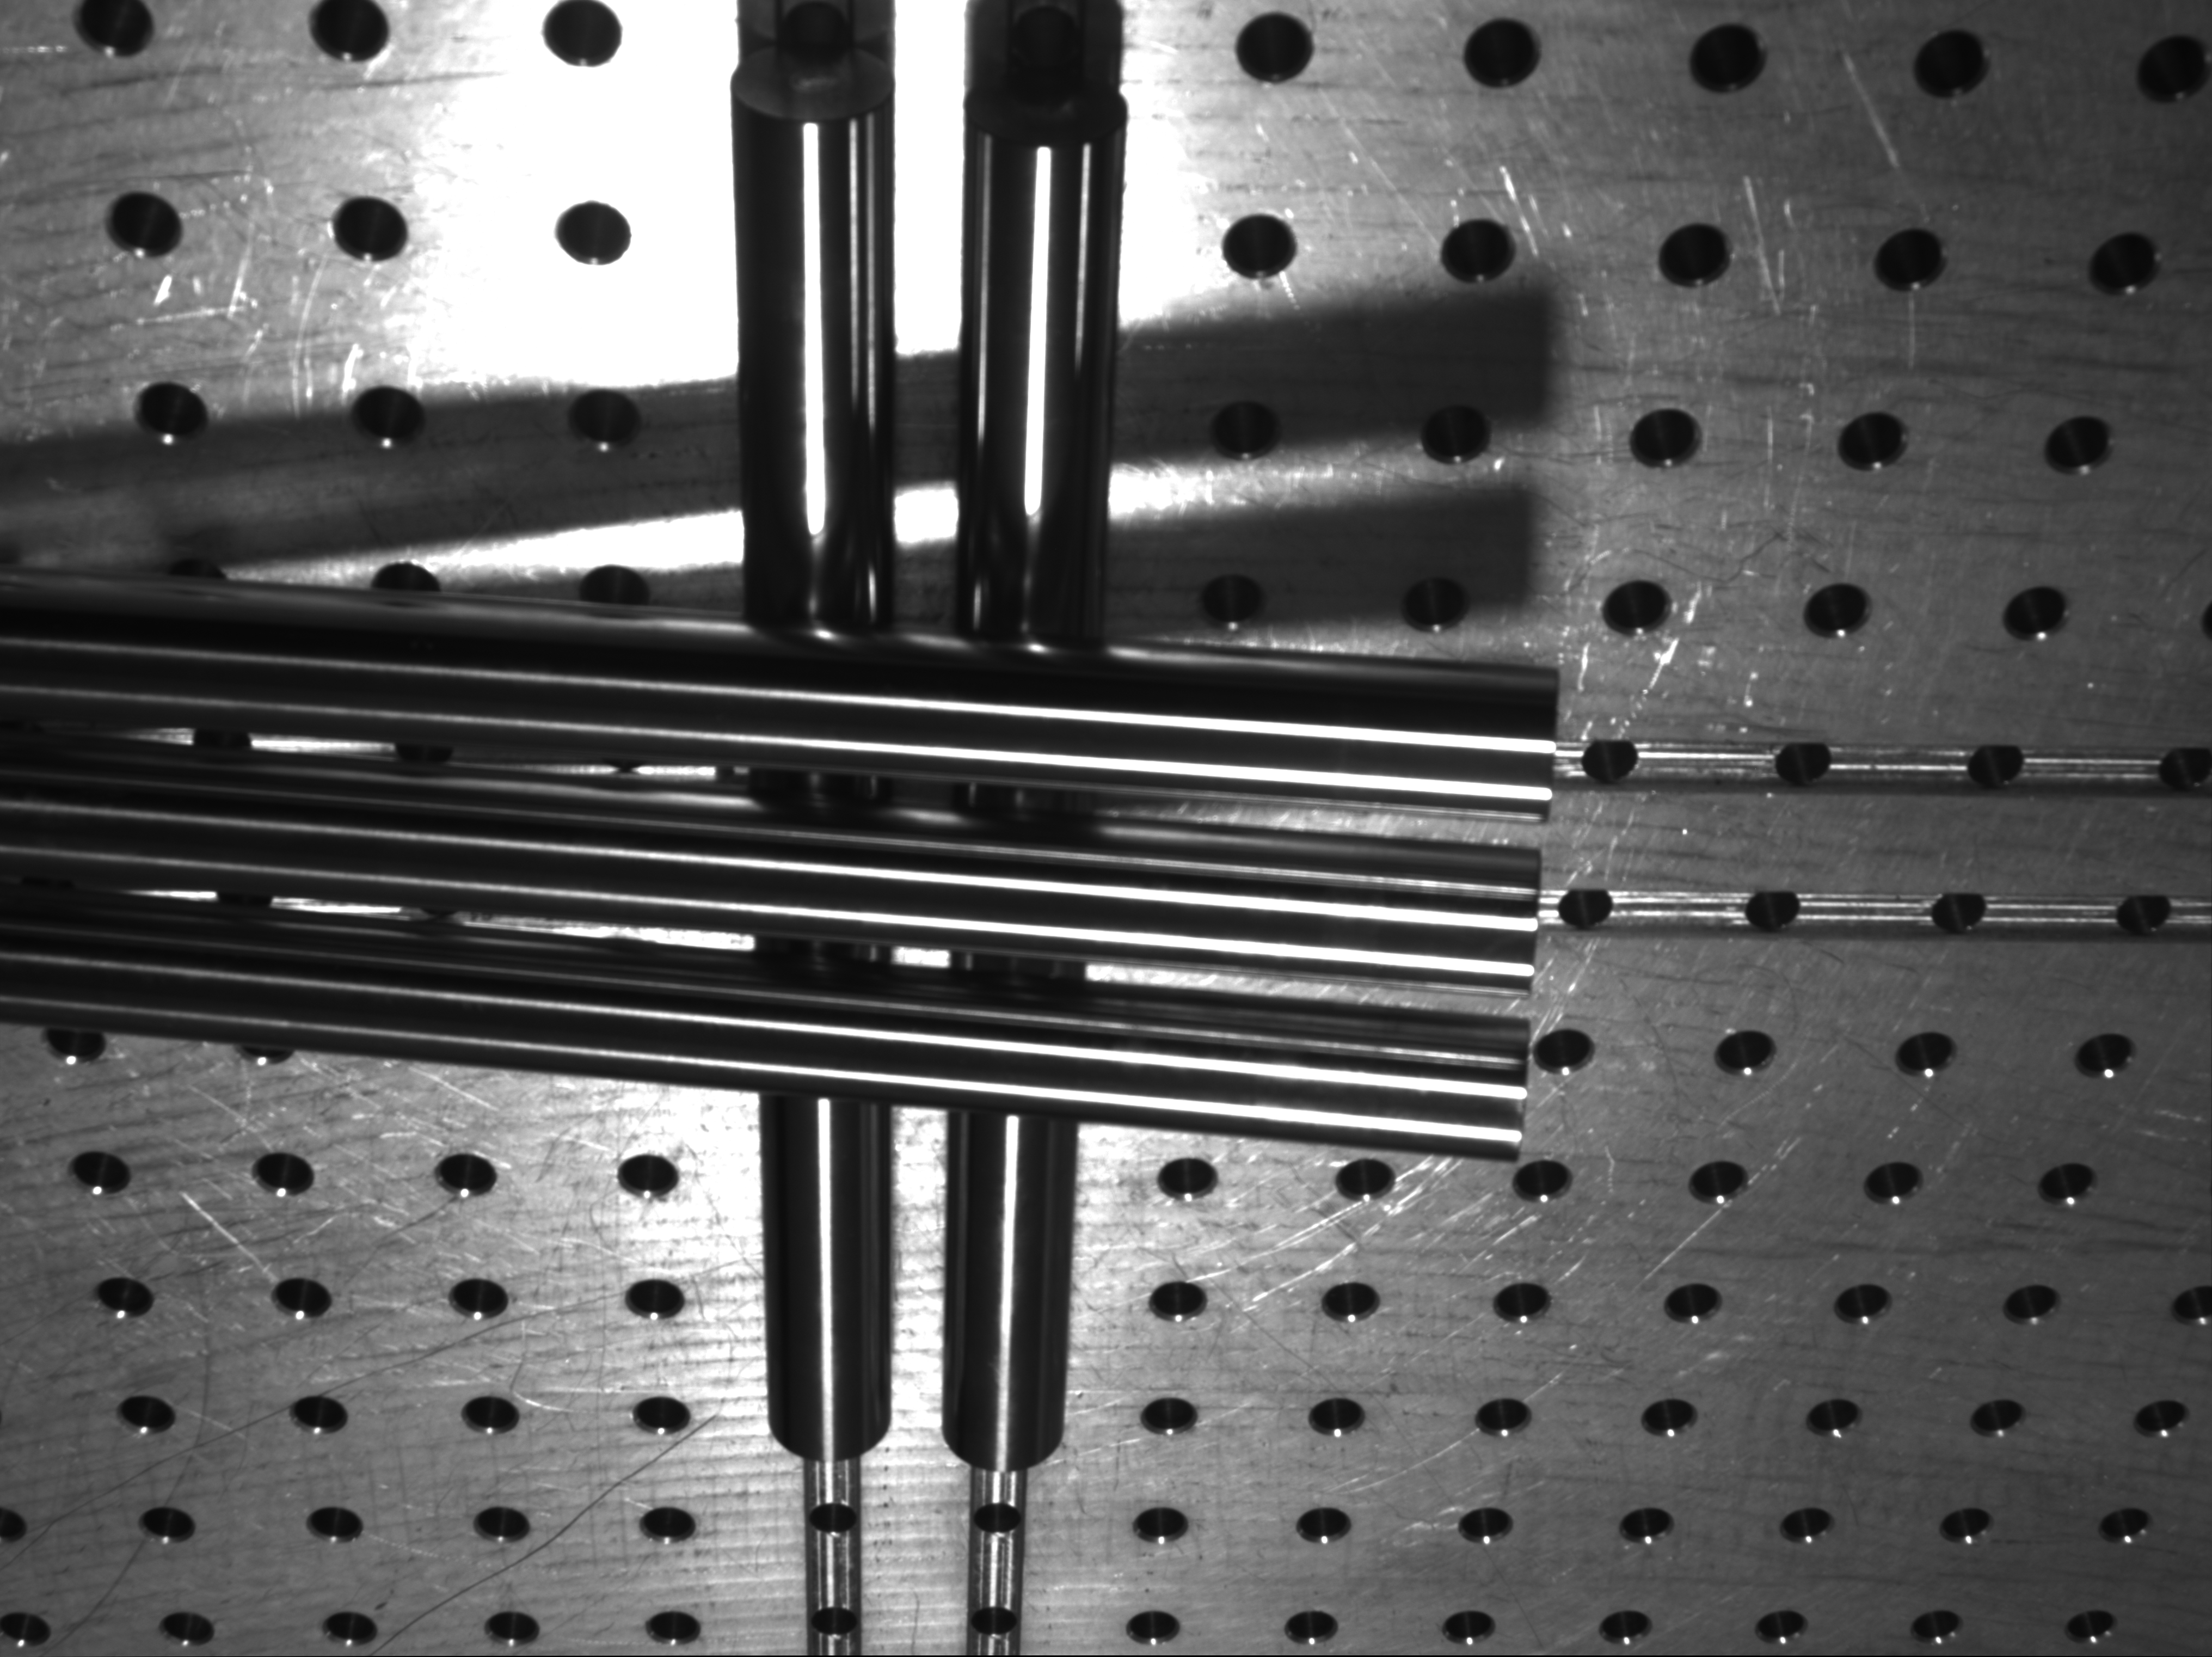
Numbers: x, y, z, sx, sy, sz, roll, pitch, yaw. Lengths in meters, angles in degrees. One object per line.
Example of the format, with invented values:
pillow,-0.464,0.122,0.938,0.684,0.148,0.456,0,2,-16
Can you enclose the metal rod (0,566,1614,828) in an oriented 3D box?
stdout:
metal rod,-0.070,-0.023,0.593,0.300,0.025,0.025,4,130,5

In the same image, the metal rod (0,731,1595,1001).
metal rod,-0.069,0.005,0.616,0.300,0.025,0.025,4,130,5

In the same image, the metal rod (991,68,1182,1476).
metal rod,-0.006,0.007,0.647,0.025,0.025,0.300,1,130,-2

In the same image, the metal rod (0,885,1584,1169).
metal rod,-0.068,0.033,0.639,0.300,0.025,0.025,5,130,5

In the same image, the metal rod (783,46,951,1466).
metal rod,-0.041,0.004,0.644,0.025,0.025,0.300,1,130,-2
